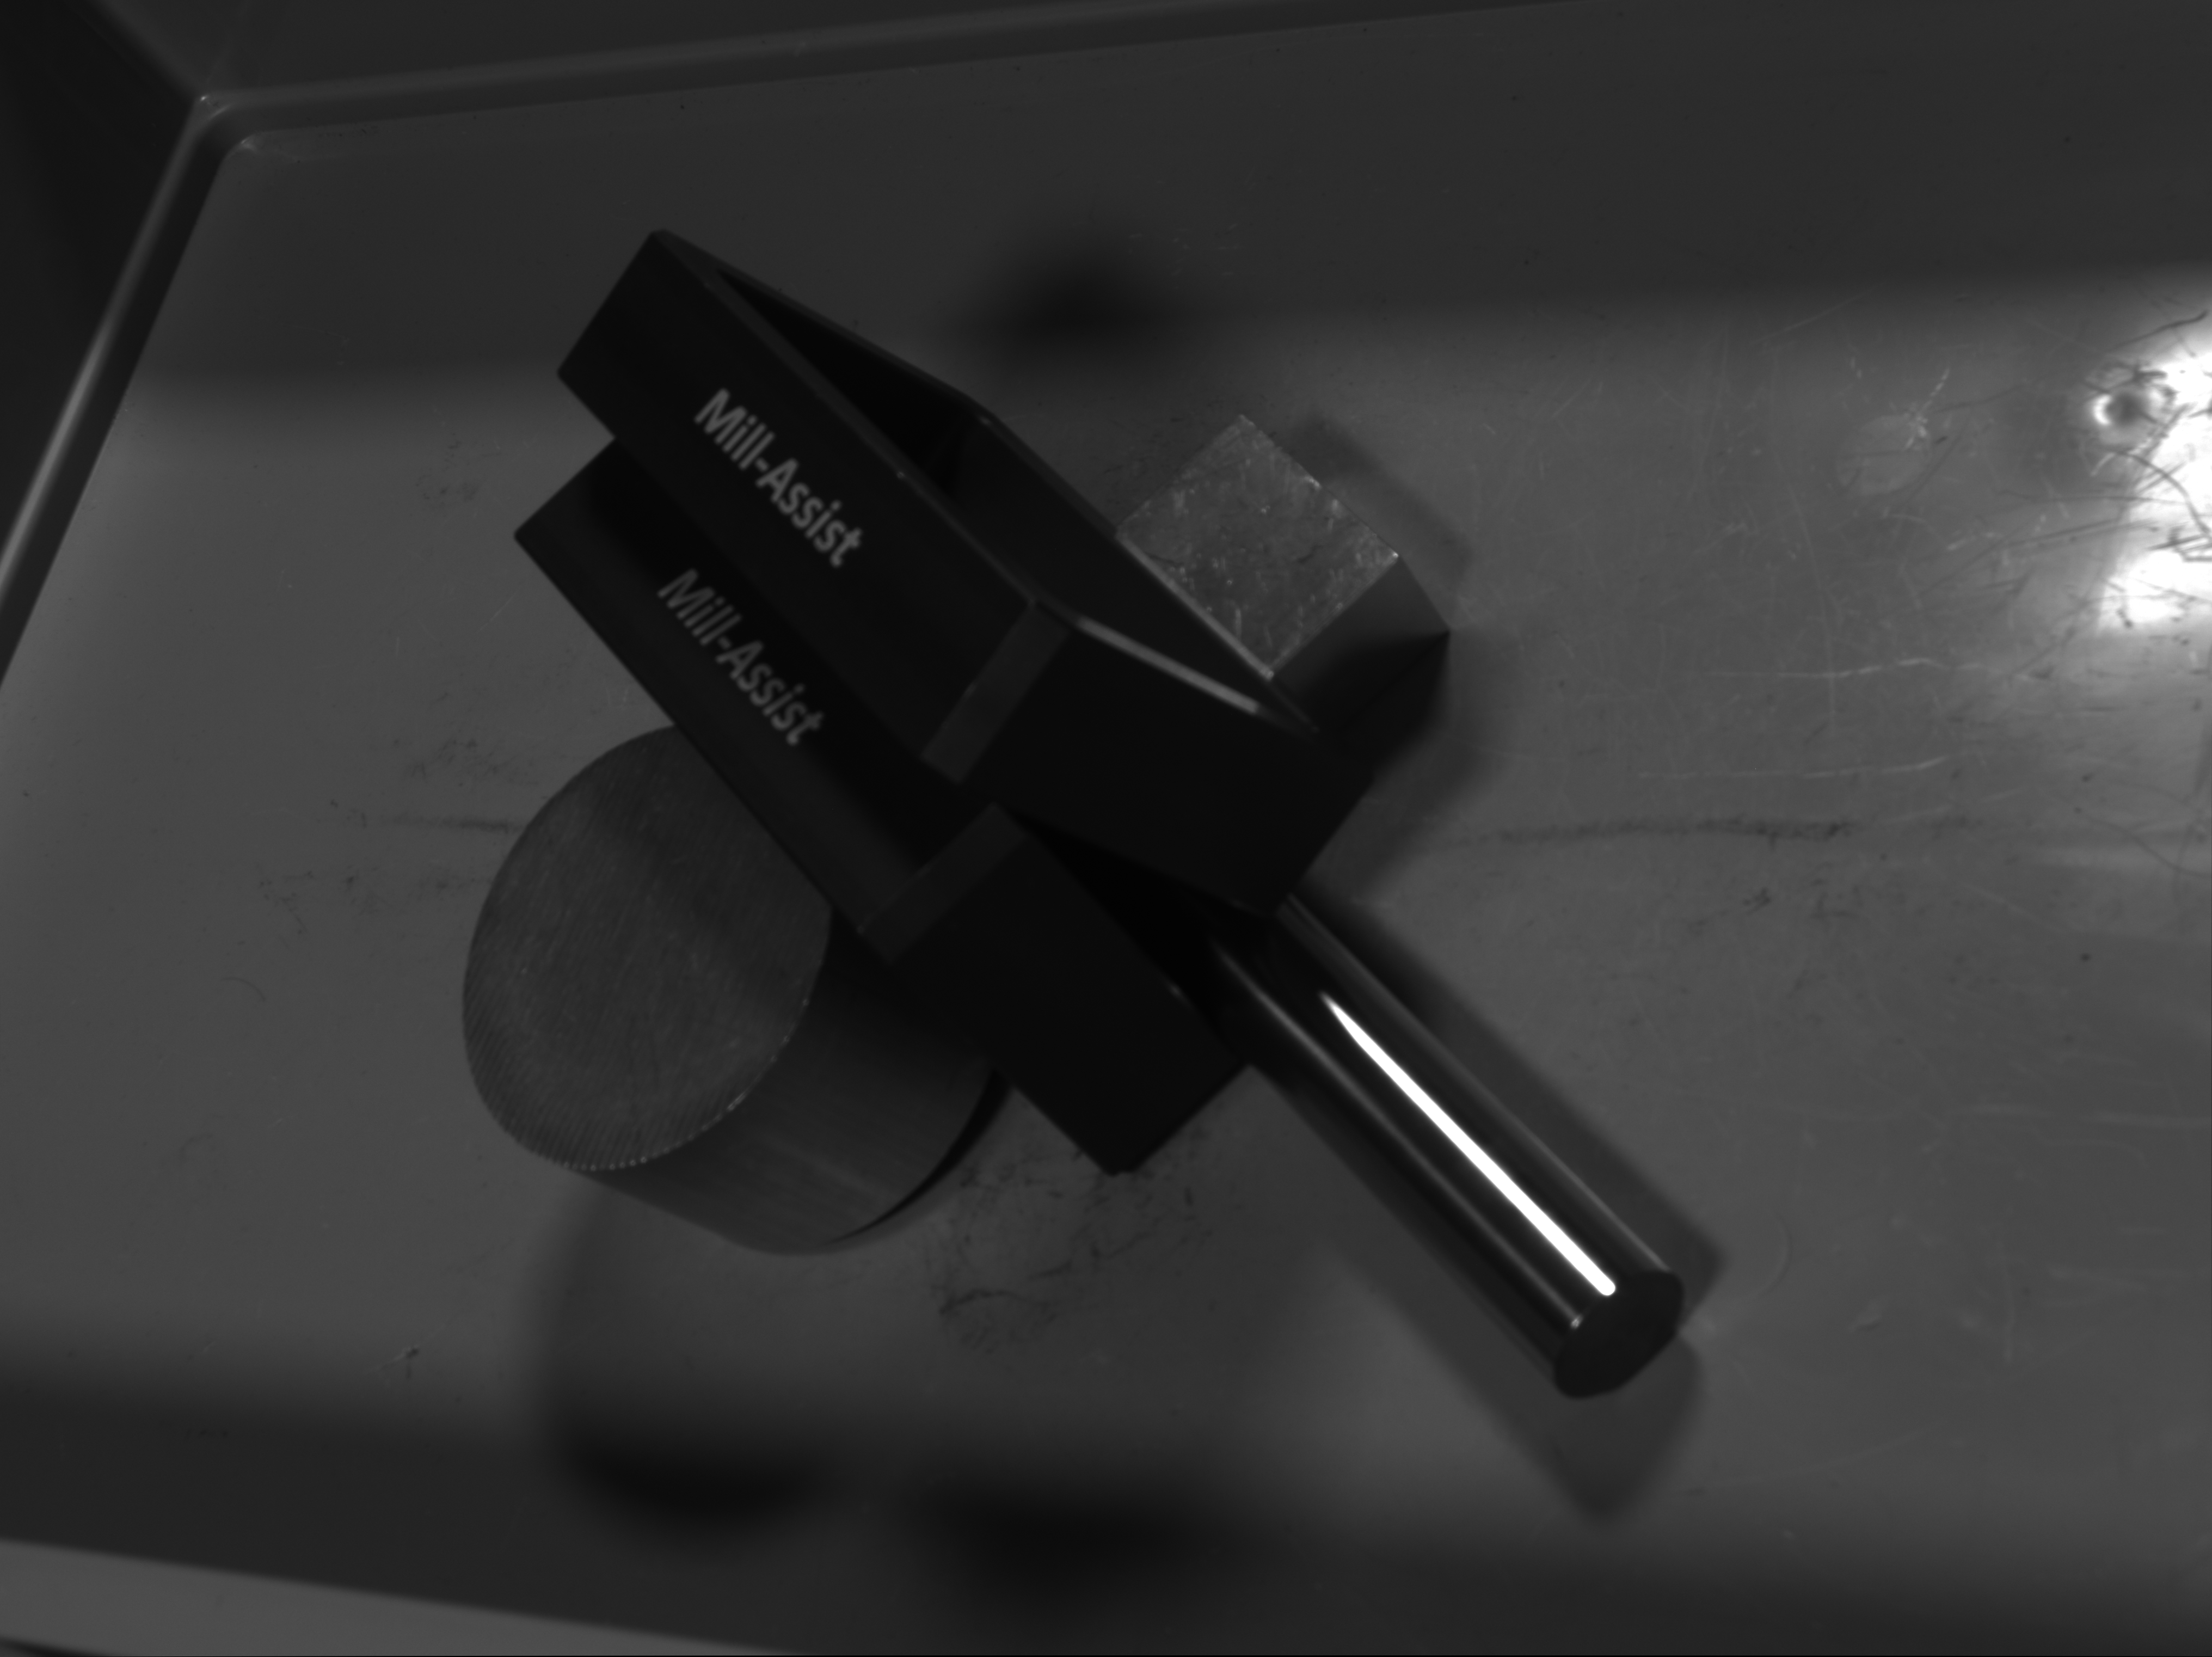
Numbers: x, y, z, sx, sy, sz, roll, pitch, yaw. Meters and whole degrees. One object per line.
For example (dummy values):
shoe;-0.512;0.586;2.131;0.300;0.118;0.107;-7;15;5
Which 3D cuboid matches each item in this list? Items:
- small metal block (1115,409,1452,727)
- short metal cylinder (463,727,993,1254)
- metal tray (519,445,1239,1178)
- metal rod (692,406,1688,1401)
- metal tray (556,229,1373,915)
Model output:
small metal block;0.024;-0.039;0.654;0.050;0.025;0.050;-42;51;-1
short metal cylinder;-0.064;0.028;0.637;0.080;0.050;0.080;-15;61;28
metal tray;-0.040;-0.006;0.626;0.030;0.090;0.130;-43;51;-1
metal rod;-0.002;-0.006;0.650;0.025;0.025;0.299;-43;51;-1
metal tray;-0.024;-0.043;0.608;0.030;0.090;0.130;-54;50;12
